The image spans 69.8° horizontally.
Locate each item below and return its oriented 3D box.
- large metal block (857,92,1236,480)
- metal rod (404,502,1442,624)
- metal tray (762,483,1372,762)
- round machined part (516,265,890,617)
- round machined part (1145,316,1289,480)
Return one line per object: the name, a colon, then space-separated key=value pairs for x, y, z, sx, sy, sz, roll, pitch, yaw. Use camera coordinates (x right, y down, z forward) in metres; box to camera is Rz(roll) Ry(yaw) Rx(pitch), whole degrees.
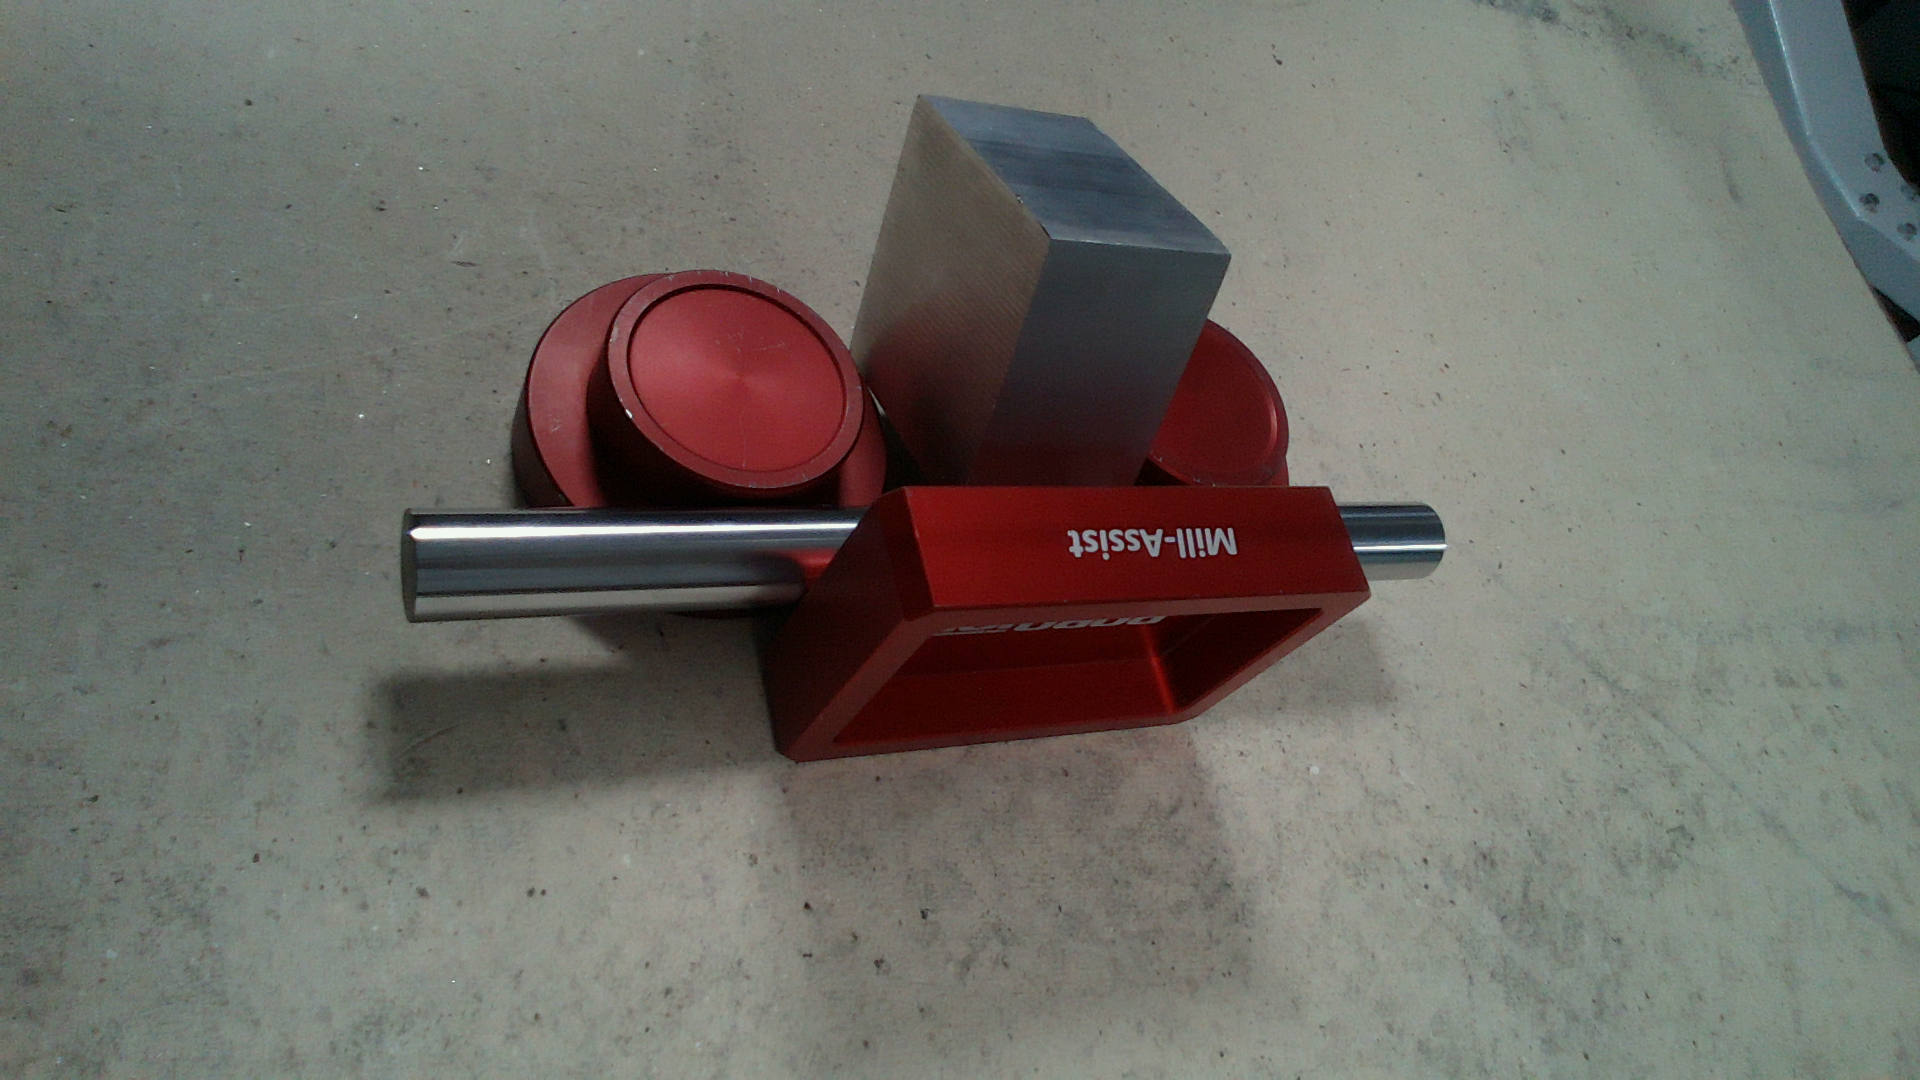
large metal block: x=0.017 y=-0.062 z=0.367 sx=0.050 sy=0.080 sz=0.080 roll=-2 pitch=39 yaw=-29
metal rod: x=0.013 y=0.003 z=0.369 sx=0.301 sy=0.025 sz=0.025 roll=-1 pitch=62 yaw=-29
metal tray: x=0.026 y=0.021 z=0.349 sx=0.130 sy=0.090 sz=0.030 roll=-1 pitch=62 yaw=-29
round machined part: x=-0.064 y=-0.033 z=0.362 sx=0.098 sy=0.042 sz=0.098 roll=14 pitch=56 yaw=-21
round machined part: x=0.063 y=-0.035 z=0.434 sx=0.098 sy=0.042 sz=0.098 roll=14 pitch=56 yaw=-21
